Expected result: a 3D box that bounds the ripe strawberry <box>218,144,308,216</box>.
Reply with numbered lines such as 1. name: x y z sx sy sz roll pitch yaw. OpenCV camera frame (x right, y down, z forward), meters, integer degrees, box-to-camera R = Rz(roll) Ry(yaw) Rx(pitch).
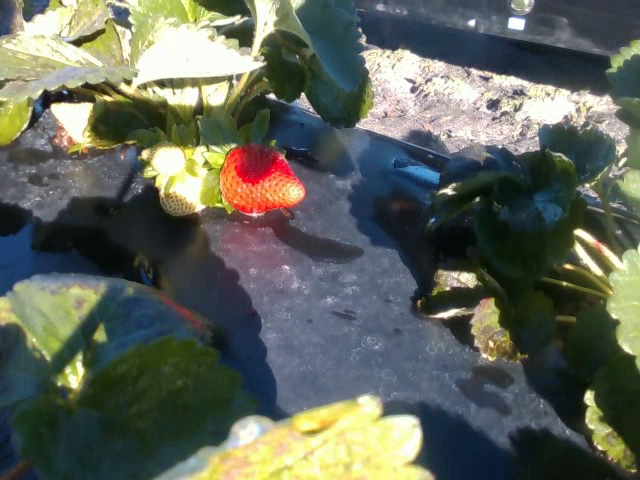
1. ripe strawberry: -0.028 -0.031 0.342 0.064 0.050 0.052 24 -18 37
